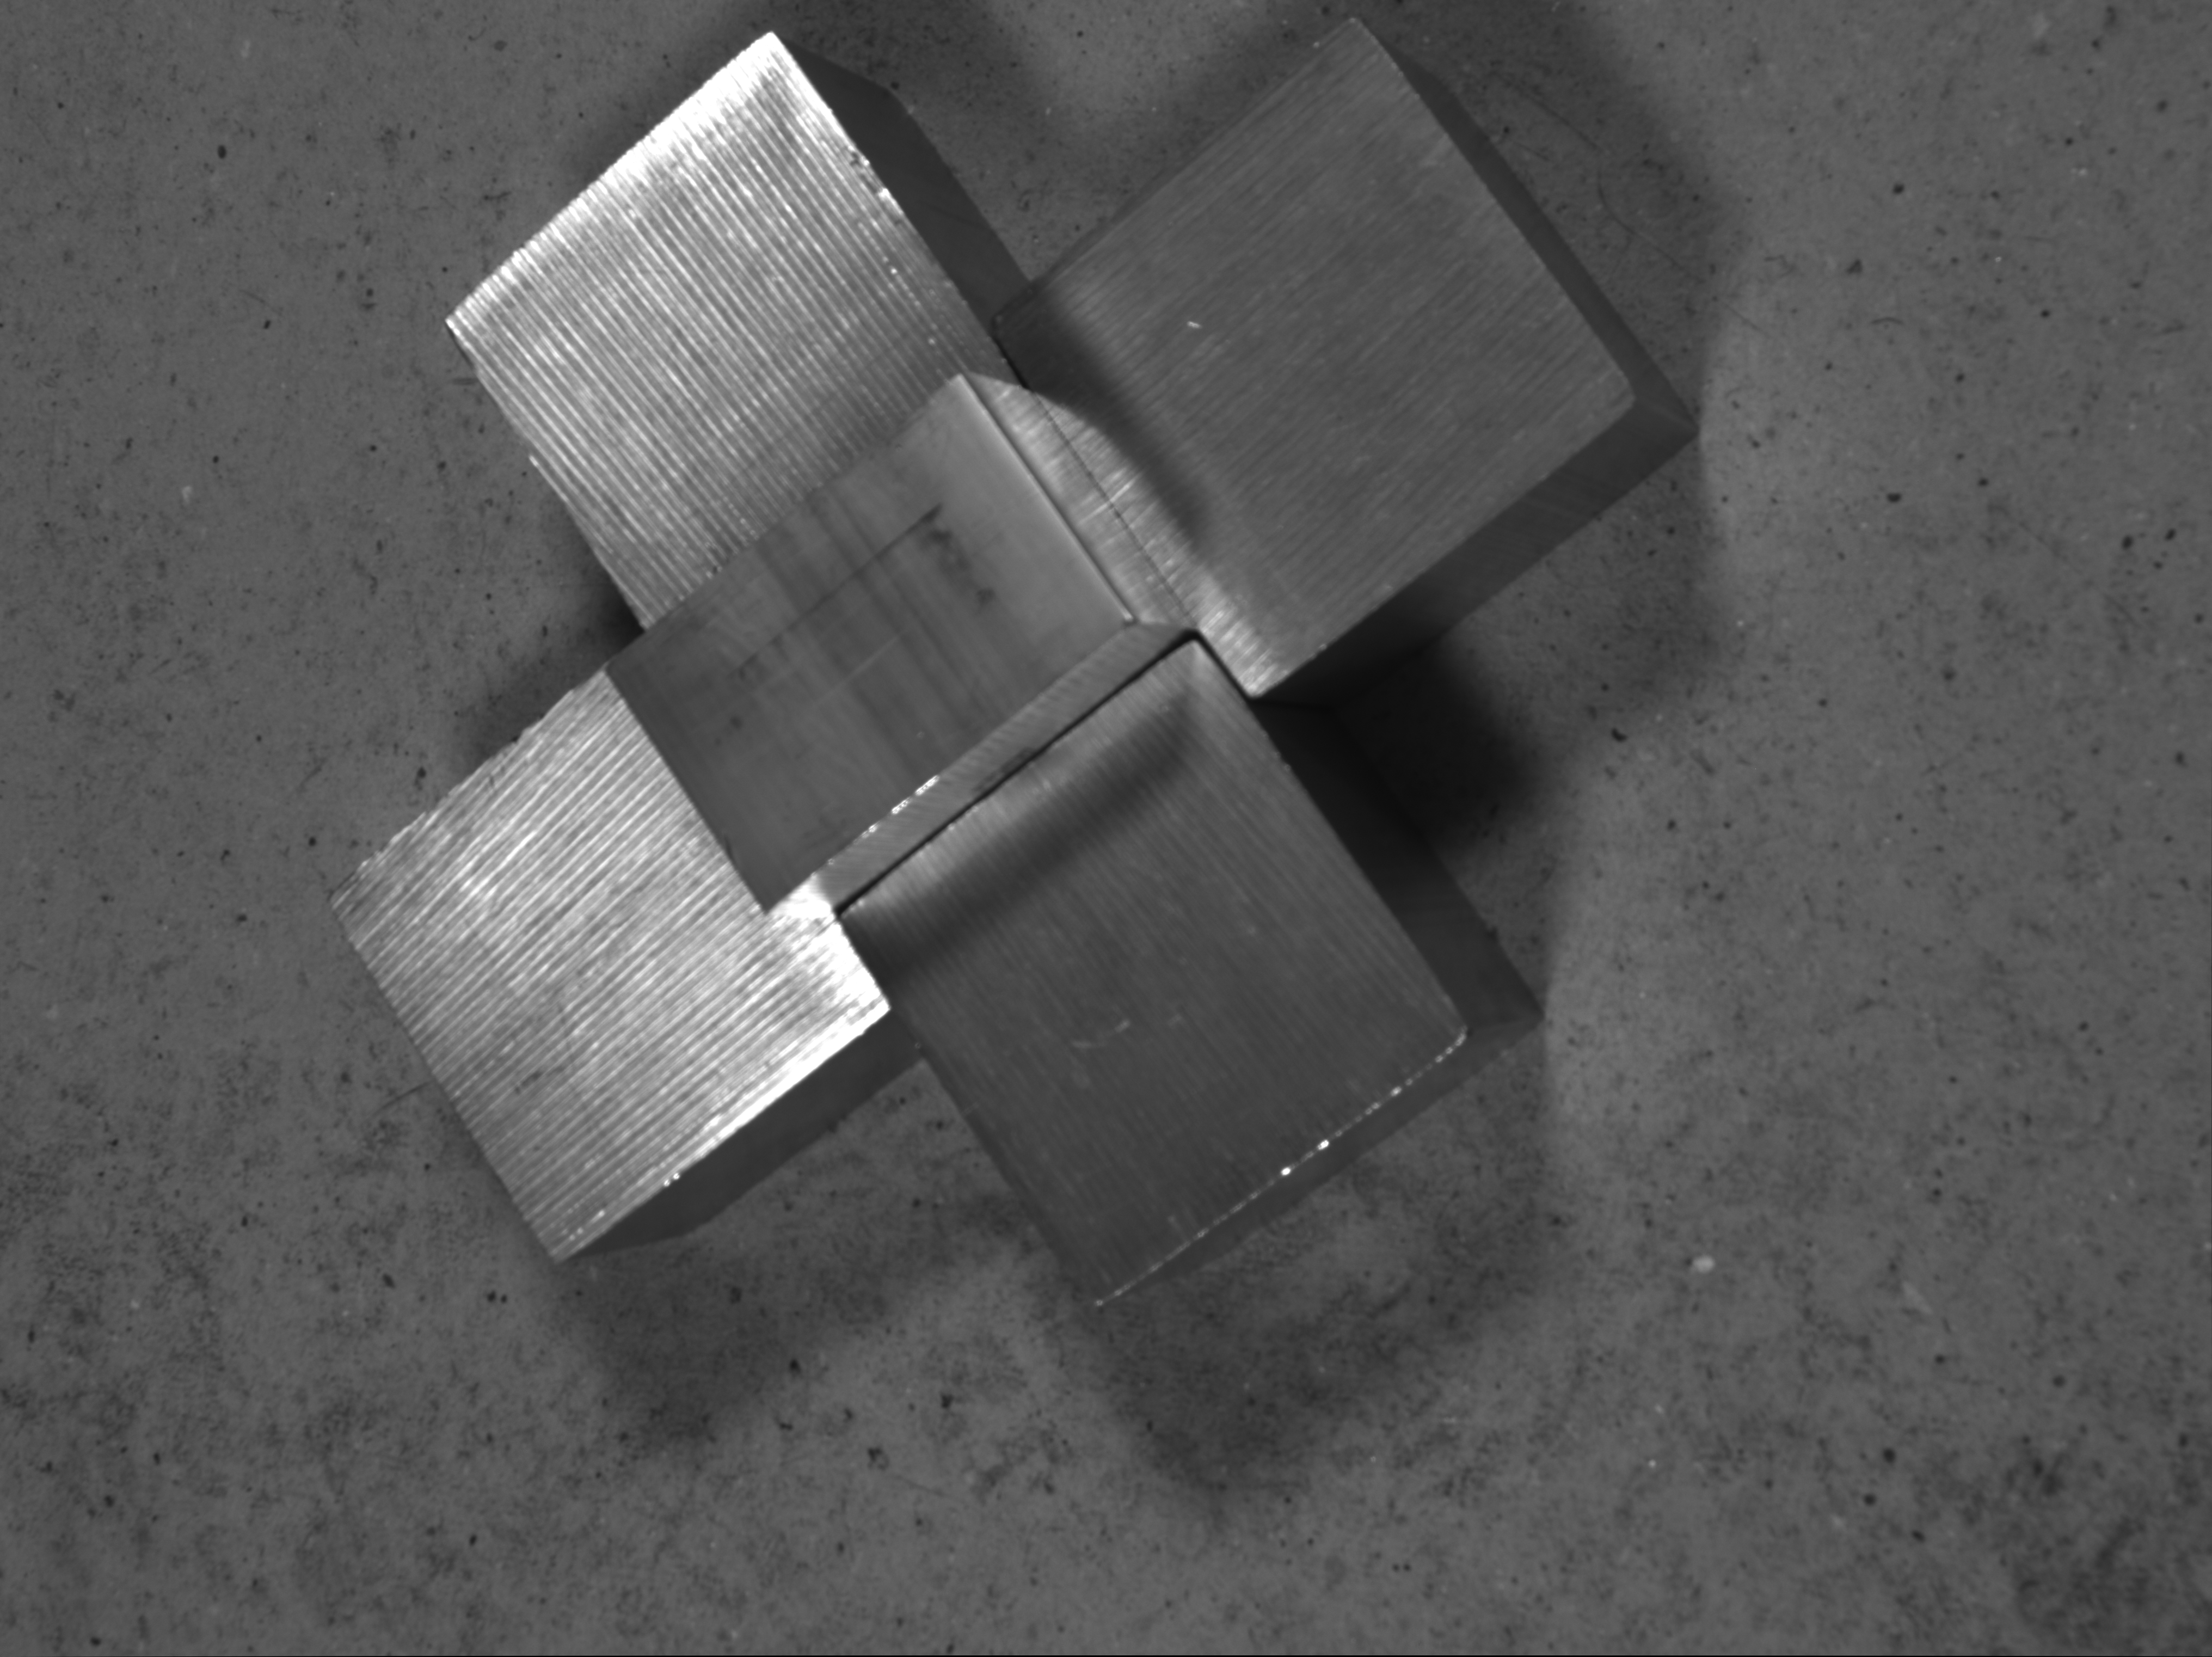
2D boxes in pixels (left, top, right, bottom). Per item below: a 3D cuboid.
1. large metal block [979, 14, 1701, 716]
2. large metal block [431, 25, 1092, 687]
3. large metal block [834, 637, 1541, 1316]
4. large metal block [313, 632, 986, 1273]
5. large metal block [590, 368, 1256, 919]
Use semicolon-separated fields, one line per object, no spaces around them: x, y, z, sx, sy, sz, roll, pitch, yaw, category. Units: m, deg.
0.040;-0.075;0.616;0.080;0.050;0.080;-38;78;16;large metal block
-0.058;-0.081;0.651;0.080;0.050;0.080;-38;78;16;large metal block
0.015;0.025;0.625;0.080;0.050;0.080;-38;78;16;large metal block
-0.081;0.022;0.659;0.080;0.050;0.080;-38;78;16;large metal block
-0.027;-0.029;0.625;0.080;0.080;0.050;-38;78;16;large metal block
